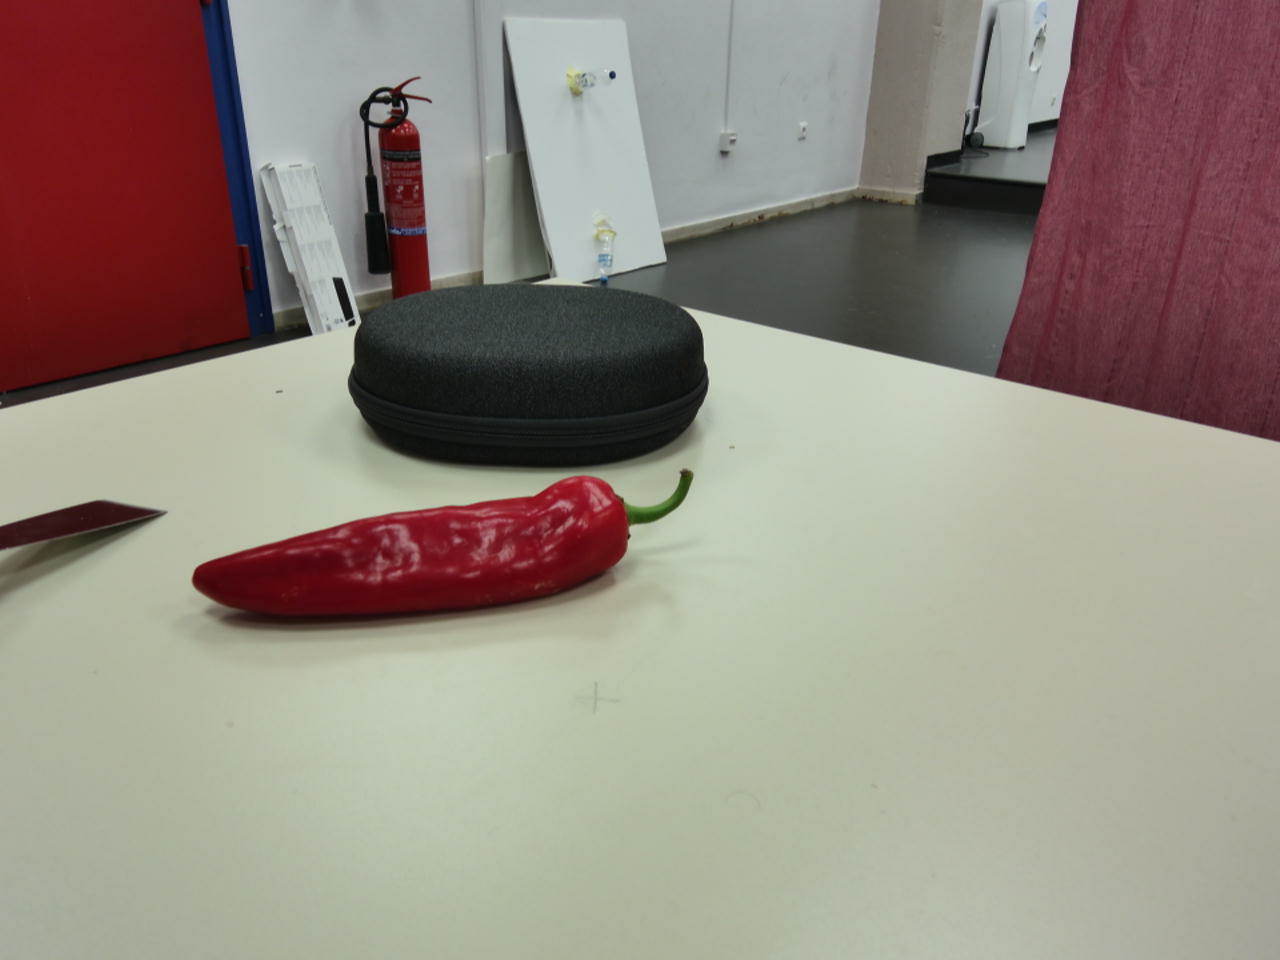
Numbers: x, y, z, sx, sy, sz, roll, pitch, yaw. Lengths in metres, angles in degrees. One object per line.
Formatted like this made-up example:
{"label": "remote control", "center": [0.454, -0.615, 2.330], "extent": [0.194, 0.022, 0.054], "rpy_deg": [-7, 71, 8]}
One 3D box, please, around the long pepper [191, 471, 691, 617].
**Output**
{"label": "long pepper", "center": [-0.073, 0.028, 0.416], "extent": [0.211, 0.043, 0.050], "rpy_deg": [-7, 24, -18]}
